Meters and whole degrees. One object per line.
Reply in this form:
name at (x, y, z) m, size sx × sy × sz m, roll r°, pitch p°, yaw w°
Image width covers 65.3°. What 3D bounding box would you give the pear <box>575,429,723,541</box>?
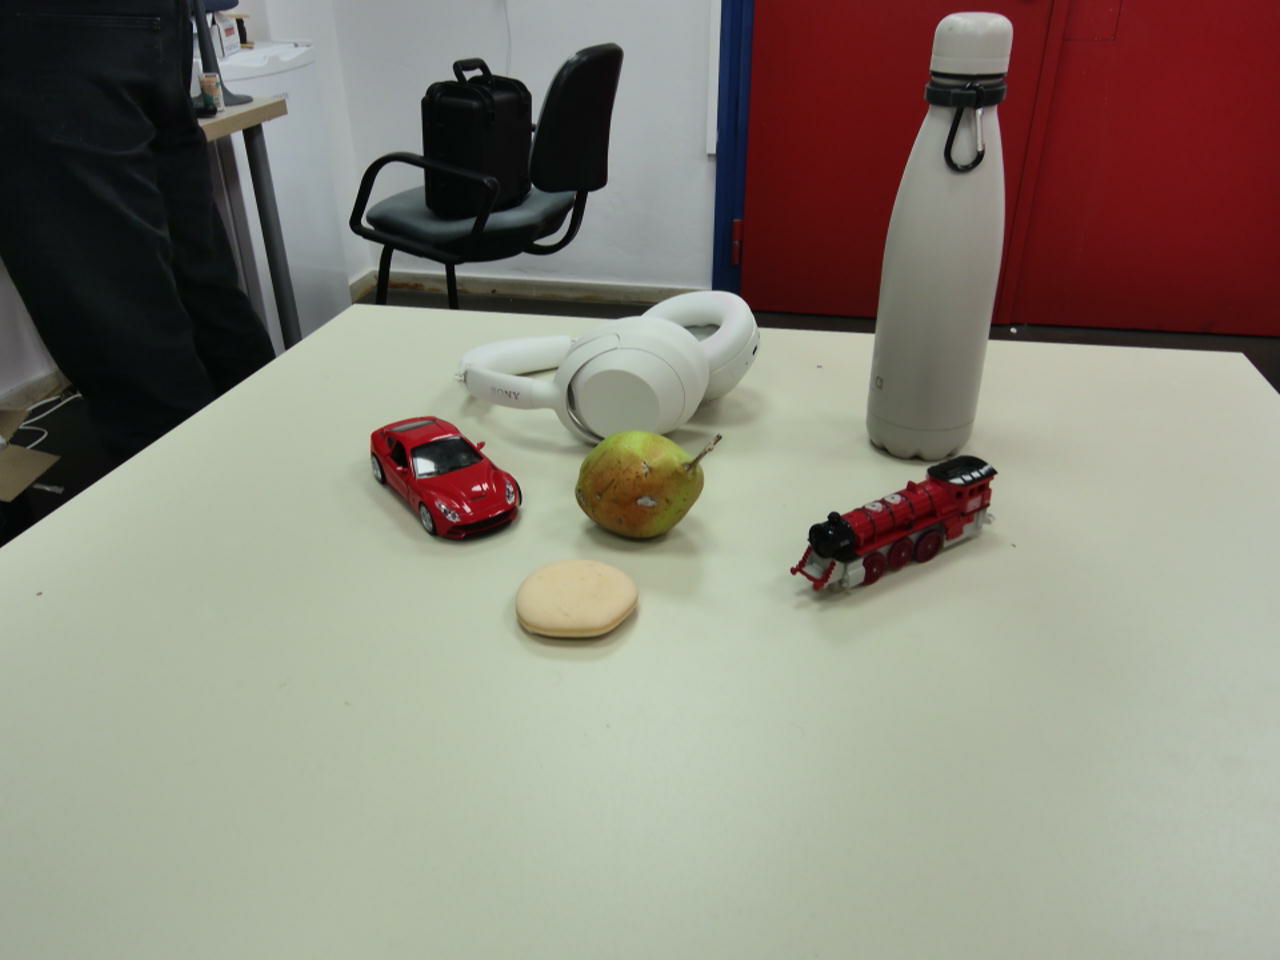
pear at (-0.001, 0.000, 0.580) m, size 0.068 × 0.069 × 0.070 m, roll -13°, pitch 29°, yaw -24°
